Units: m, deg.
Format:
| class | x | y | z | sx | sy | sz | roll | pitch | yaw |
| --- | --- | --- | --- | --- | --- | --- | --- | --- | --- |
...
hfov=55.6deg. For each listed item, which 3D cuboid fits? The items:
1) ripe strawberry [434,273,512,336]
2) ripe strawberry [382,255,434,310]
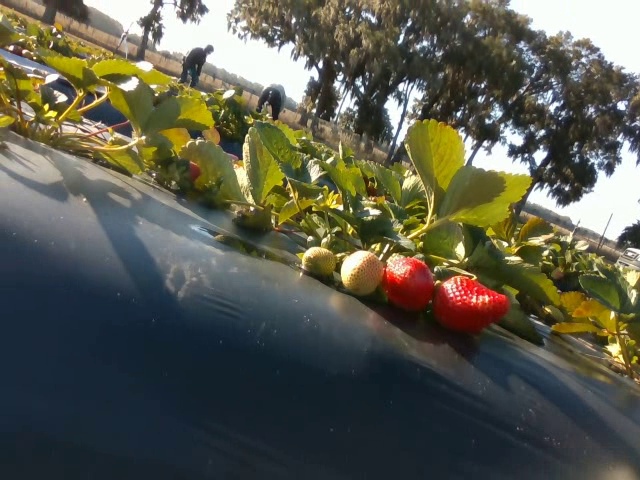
| class | x | y | z | sx | sy | sz | roll | pitch | yaw |
| --- | --- | --- | --- | --- | --- | --- | --- | --- | --- |
| ripe strawberry | 0.115 | 0.048 | 0.441 | 0.056 | 0.052 | 0.067 | -15 | 2 | -35 |
| ripe strawberry | 0.065 | 0.030 | 0.442 | 0.050 | 0.044 | 0.061 | 44 | 1 | 15 |
